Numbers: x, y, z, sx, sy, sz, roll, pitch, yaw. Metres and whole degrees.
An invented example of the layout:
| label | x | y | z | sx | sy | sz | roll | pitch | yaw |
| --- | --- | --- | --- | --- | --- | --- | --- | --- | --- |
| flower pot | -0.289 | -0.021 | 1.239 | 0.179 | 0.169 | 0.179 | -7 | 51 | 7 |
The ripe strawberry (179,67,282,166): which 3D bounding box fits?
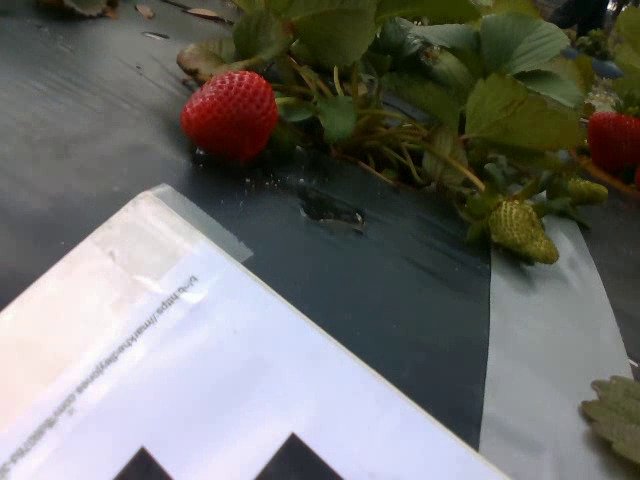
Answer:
| label | x | y | z | sx | sy | sz | roll | pitch | yaw |
| --- | --- | --- | --- | --- | --- | --- | --- | --- | --- |
| ripe strawberry | -0.034 | -0.048 | 0.230 | 0.036 | 0.040 | 0.046 | 12 | 12 | 34 |
